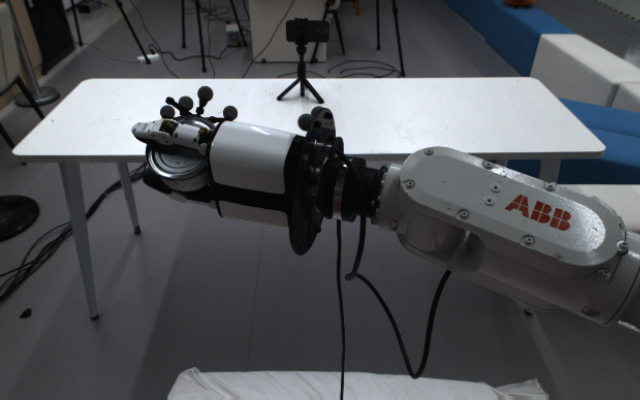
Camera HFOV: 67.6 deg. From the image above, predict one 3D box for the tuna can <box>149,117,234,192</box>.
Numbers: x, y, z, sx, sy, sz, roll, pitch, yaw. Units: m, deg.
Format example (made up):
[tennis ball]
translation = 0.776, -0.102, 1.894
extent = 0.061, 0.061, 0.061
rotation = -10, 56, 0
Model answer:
[tuna can]
translation = -0.152, -0.053, 0.558
extent = 0.085, 0.034, 0.085
rotation = -3, 62, 6
